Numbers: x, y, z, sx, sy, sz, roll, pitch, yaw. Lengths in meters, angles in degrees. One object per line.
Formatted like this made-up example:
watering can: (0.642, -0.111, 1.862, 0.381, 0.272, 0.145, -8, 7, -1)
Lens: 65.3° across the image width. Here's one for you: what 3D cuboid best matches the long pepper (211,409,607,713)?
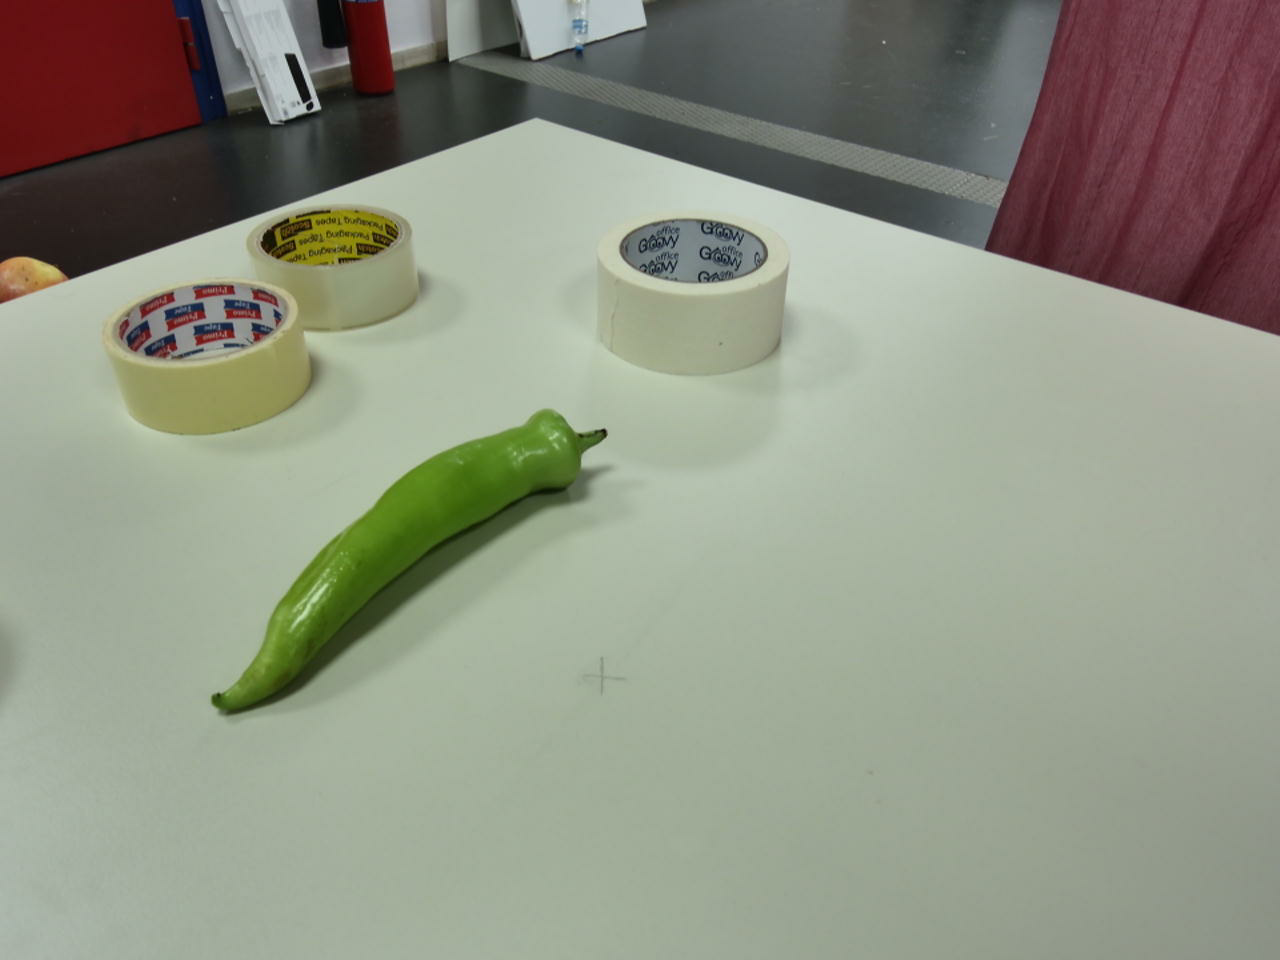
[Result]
long pepper: (-0.089, 0.018, 0.399, 0.047, 0.038, 0.197, 27, 43, 31)
